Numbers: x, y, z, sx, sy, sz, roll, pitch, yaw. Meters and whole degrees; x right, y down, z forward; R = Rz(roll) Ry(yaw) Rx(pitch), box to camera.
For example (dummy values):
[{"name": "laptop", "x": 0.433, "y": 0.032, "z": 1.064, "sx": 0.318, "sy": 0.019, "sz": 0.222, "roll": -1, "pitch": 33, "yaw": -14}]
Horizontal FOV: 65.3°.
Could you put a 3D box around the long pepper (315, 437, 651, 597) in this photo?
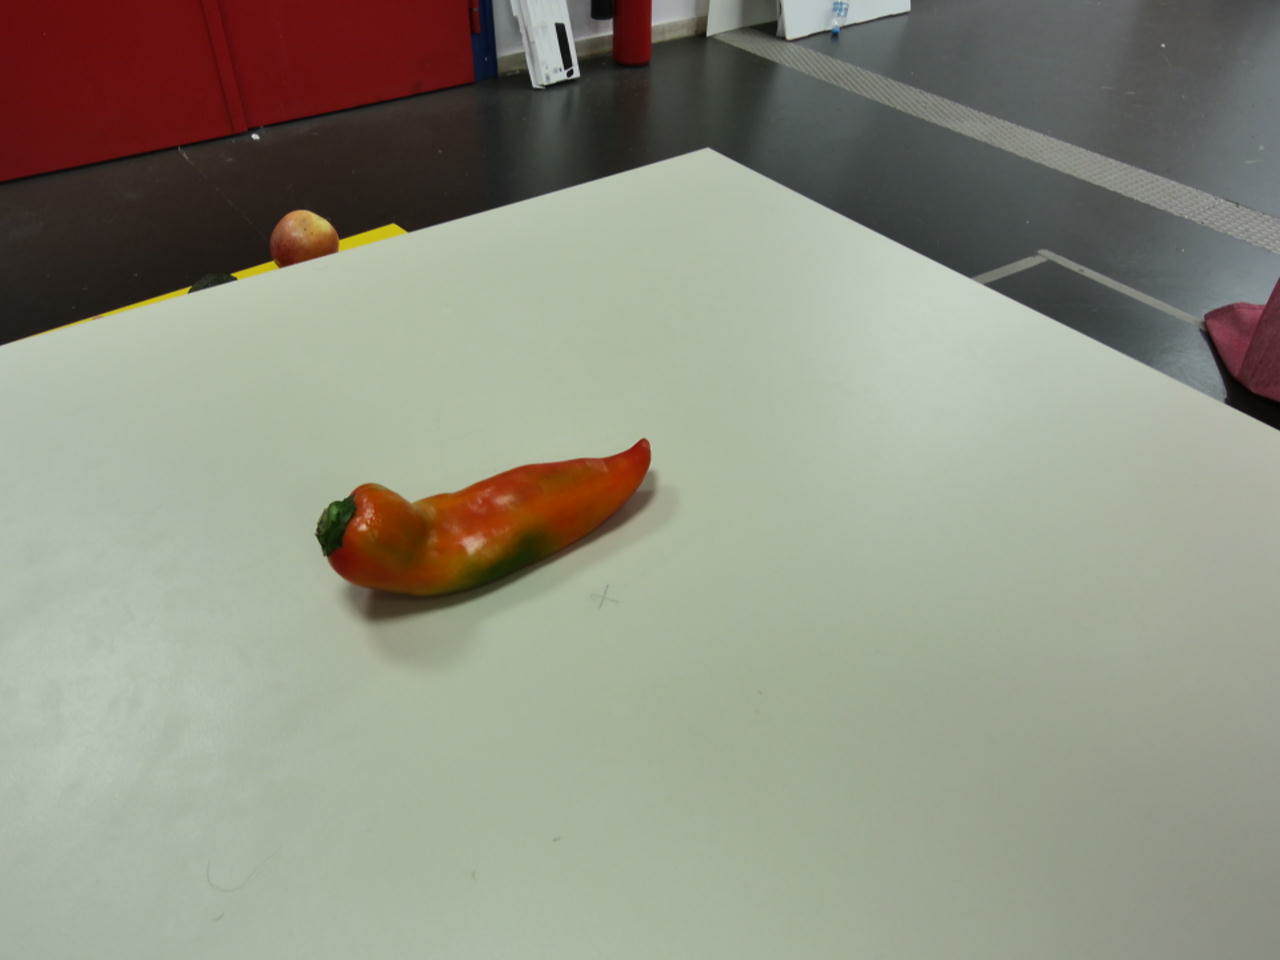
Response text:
[{"name": "long pepper", "x": -0.075, "y": 0.010, "z": 0.545, "sx": 0.199, "sy": 0.065, "sz": 0.066, "roll": -21, "pitch": 43, "yaw": -25}]
